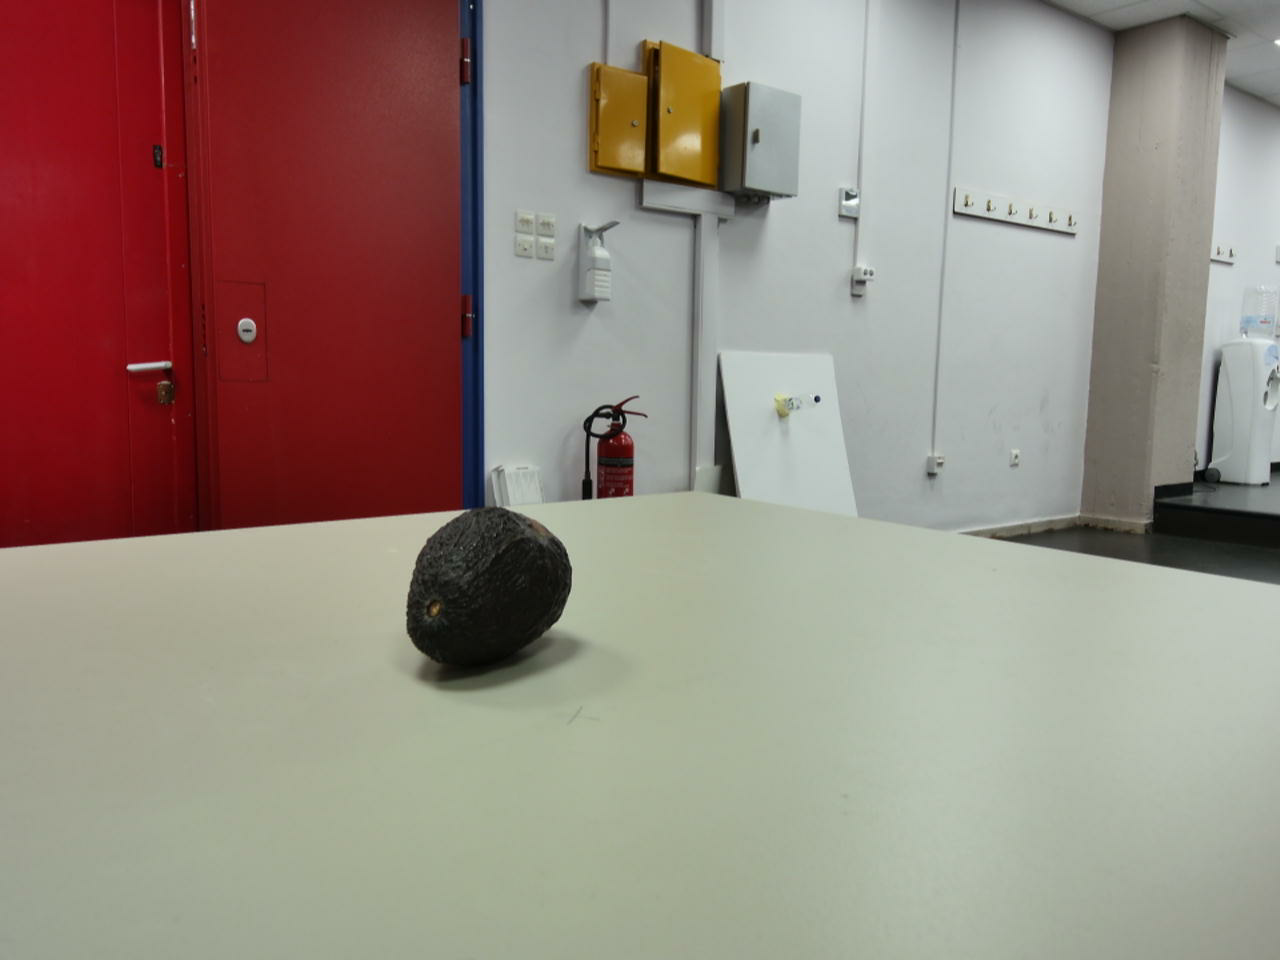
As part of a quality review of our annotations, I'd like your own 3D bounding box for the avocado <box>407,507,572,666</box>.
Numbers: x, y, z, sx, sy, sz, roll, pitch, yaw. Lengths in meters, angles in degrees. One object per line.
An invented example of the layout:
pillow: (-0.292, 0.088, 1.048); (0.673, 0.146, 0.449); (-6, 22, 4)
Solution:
avocado: (-0.065, 0.043, 0.414); (0.062, 0.062, 0.092); (2, 5, 28)
